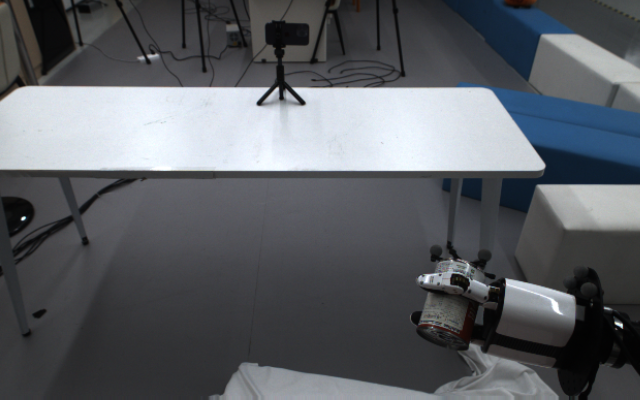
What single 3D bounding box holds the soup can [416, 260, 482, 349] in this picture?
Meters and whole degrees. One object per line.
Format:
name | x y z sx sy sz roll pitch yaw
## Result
soup can | 0.175 0.134 0.639 0.067 0.067 0.101 15 64 18
